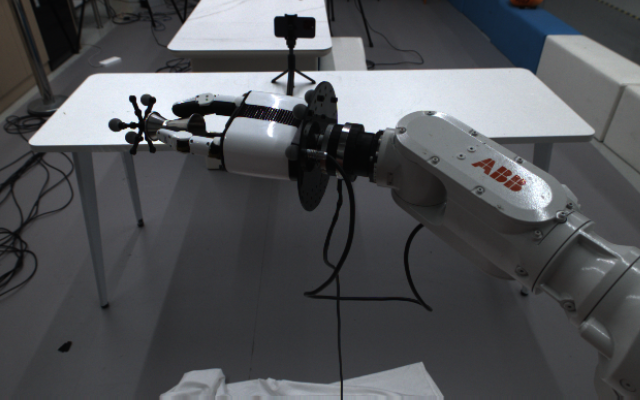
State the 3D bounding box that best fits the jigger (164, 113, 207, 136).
[{"bbox_3d":[-0.189,-0.103,0.648,0.071,0.043,0.043,6,34,17],"label":"jigger"}]
